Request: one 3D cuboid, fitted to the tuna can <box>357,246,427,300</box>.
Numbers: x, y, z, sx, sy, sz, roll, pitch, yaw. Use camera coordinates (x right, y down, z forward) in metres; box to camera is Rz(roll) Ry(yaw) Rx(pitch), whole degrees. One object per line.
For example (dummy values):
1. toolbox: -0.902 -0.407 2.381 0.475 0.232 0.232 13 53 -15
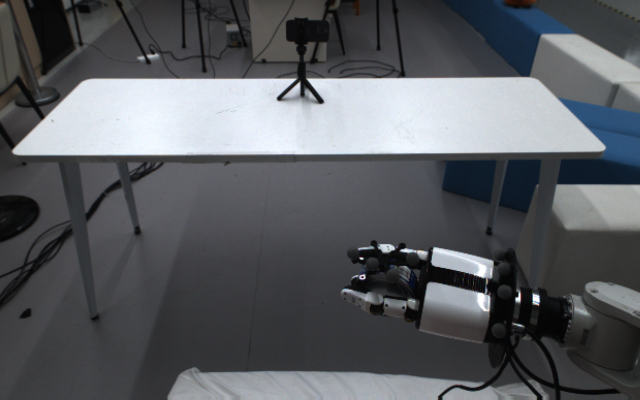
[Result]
1. tuna can: 0.095 0.121 0.673 0.085 0.085 0.034 12 39 13
